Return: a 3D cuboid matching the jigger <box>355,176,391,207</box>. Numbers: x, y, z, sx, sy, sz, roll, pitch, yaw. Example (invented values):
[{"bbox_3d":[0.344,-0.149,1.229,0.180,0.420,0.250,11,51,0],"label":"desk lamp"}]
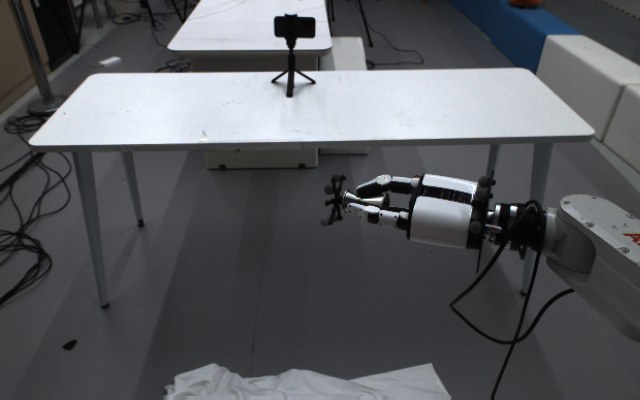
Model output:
[{"bbox_3d":[0.080,0.002,0.782,0.071,0.043,0.043,8,34,23],"label":"jigger"}]
